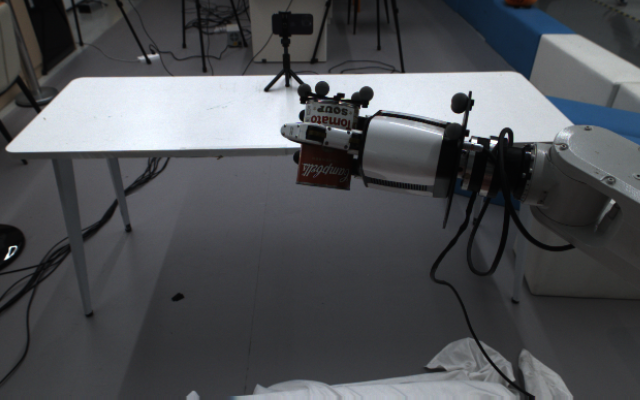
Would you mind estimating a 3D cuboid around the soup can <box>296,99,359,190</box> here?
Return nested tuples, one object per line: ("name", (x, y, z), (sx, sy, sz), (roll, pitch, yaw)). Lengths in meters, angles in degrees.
("soup can", (0.011, -0.065, 0.591), (0.067, 0.101, 0.067), (7, 3, 0))
